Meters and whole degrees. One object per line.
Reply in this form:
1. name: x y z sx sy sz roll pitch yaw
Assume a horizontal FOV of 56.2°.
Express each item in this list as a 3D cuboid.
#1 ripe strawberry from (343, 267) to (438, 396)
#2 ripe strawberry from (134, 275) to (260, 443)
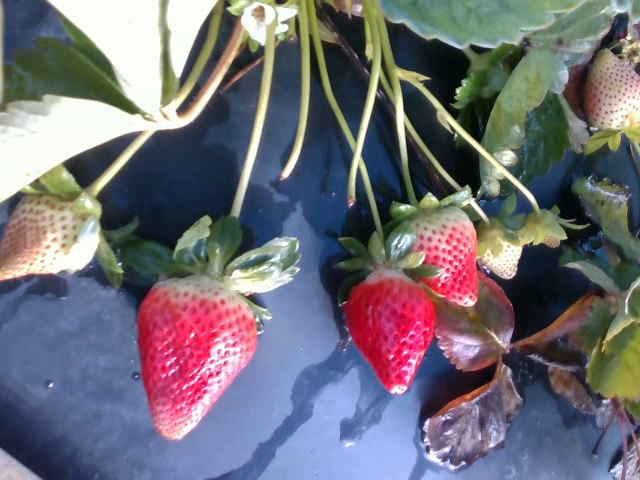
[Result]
1. ripe strawberry: 0.029 0.042 0.254 0.045 0.055 0.042 -7 -24 10
2. ripe strawberry: -0.049 0.044 0.217 0.050 0.065 0.050 14 -27 0
